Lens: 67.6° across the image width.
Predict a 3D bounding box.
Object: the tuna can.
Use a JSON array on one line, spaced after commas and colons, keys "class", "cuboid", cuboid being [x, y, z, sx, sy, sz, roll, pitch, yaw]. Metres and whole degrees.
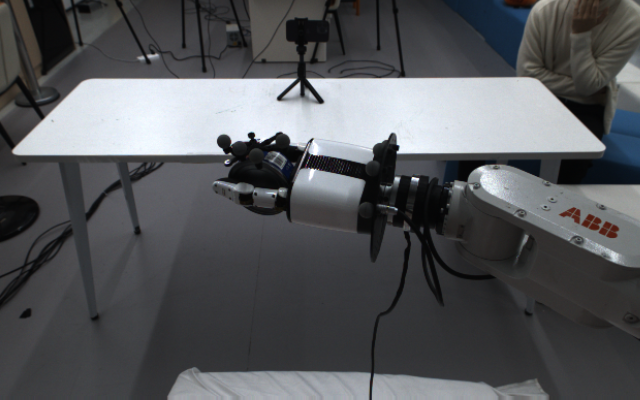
[{"class": "tuna can", "cuboid": [-0.069, -0.024, 0.621, 0.085, 0.085, 0.034, 11, 39, 13]}]
